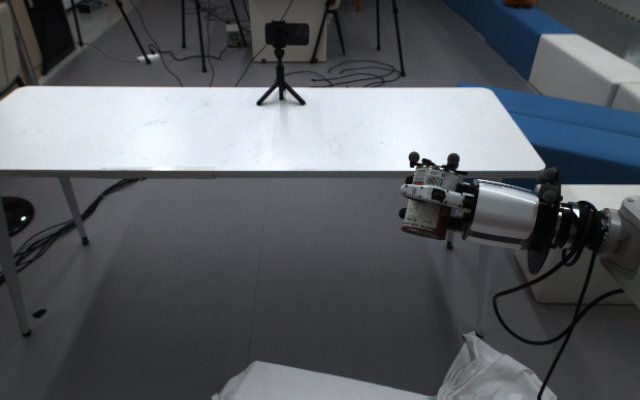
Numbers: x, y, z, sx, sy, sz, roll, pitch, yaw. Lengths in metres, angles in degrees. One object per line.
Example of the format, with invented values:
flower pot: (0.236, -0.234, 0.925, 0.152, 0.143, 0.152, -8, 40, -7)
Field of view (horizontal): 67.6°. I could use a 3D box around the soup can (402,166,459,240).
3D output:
soup can: (0.168, 0.002, 0.741, 0.067, 0.101, 0.067, 14, -6, 2)
